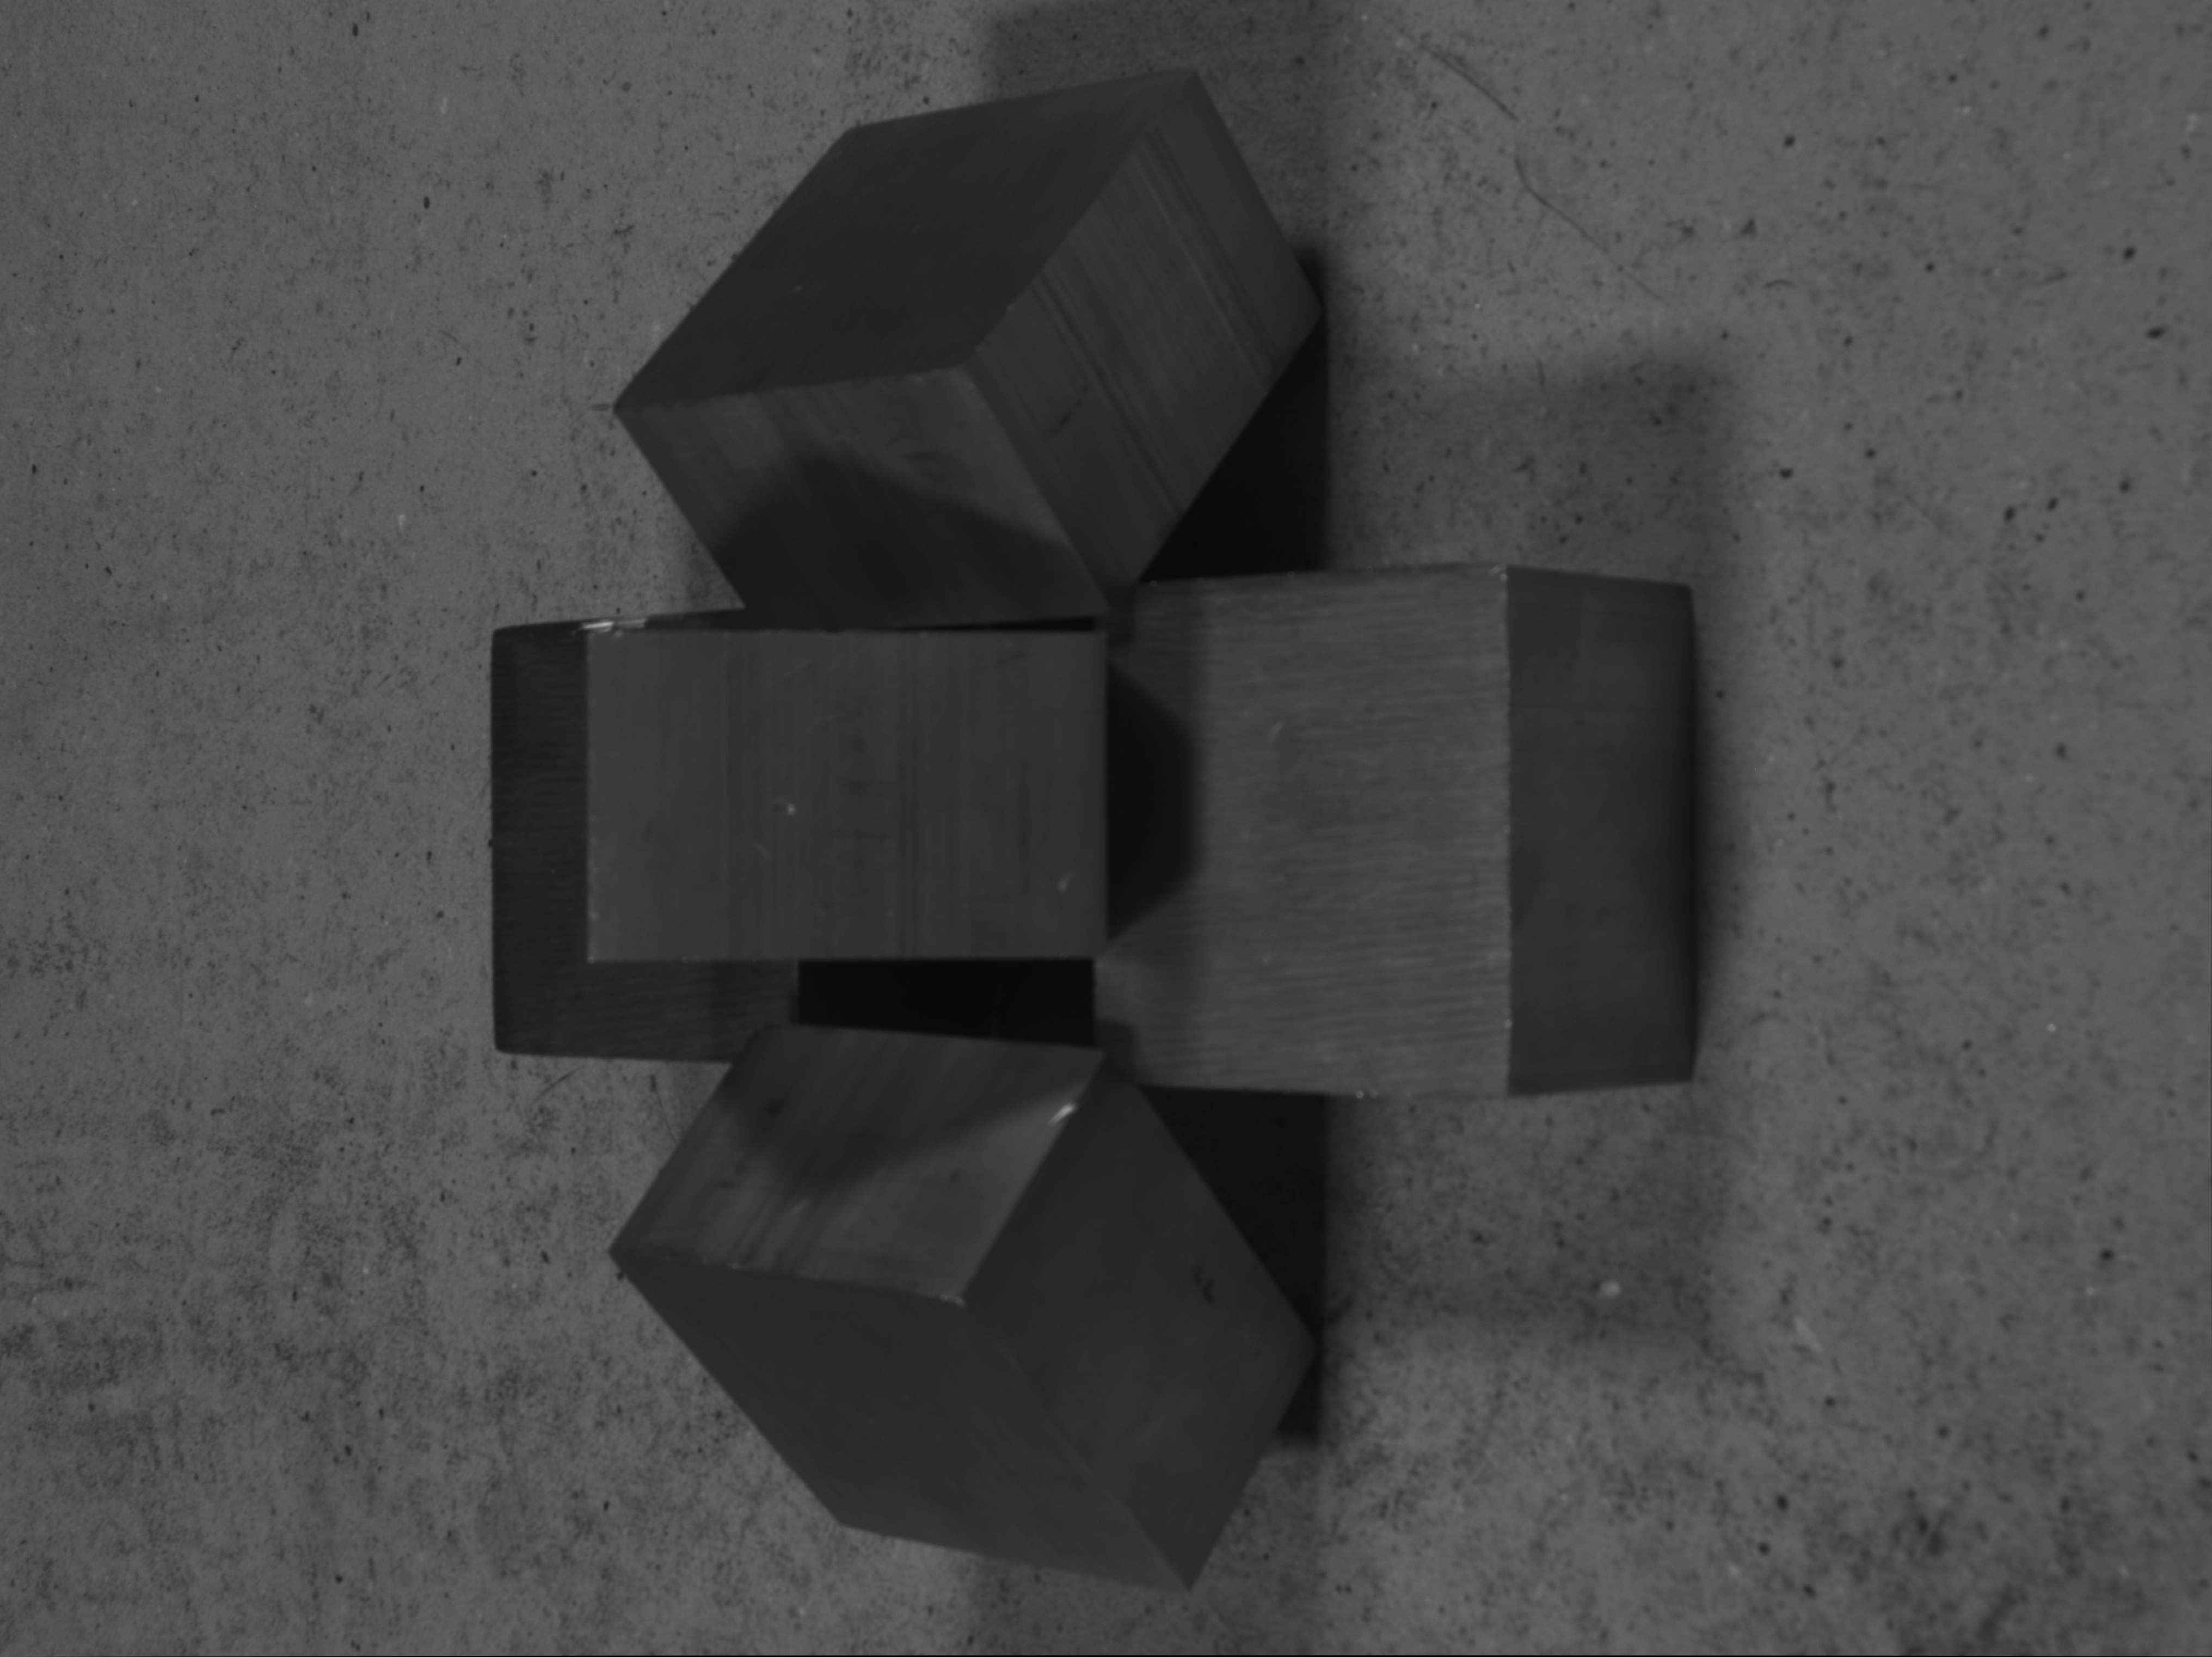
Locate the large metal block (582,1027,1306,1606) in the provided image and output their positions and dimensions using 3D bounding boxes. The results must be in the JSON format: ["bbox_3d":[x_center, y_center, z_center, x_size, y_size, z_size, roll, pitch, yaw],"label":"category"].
[{"bbox_3d":[-0.026,0.081,0.614,0.080,0.080,0.050,1,48,40],"label":"large metal block"}]

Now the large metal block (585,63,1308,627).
[{"bbox_3d":[-0.026,-0.079,0.615,0.080,0.080,0.050,0,133,40],"label":"large metal block"}]

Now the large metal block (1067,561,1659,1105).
[{"bbox_3d":[0.040,0.001,0.584,0.080,0.050,0.080,0,90,39],"label":"large metal block"}]

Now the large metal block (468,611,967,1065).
[{"bbox_3d":[-0.073,0.002,0.680,0.080,0.050,0.080,-1,89,39],"label":"large metal block"}]

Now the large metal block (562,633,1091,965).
[{"bbox_3d":[-0.047,-0.004,0.596,0.080,0.080,0.050,175,95,-84],"label":"large metal block"}]
